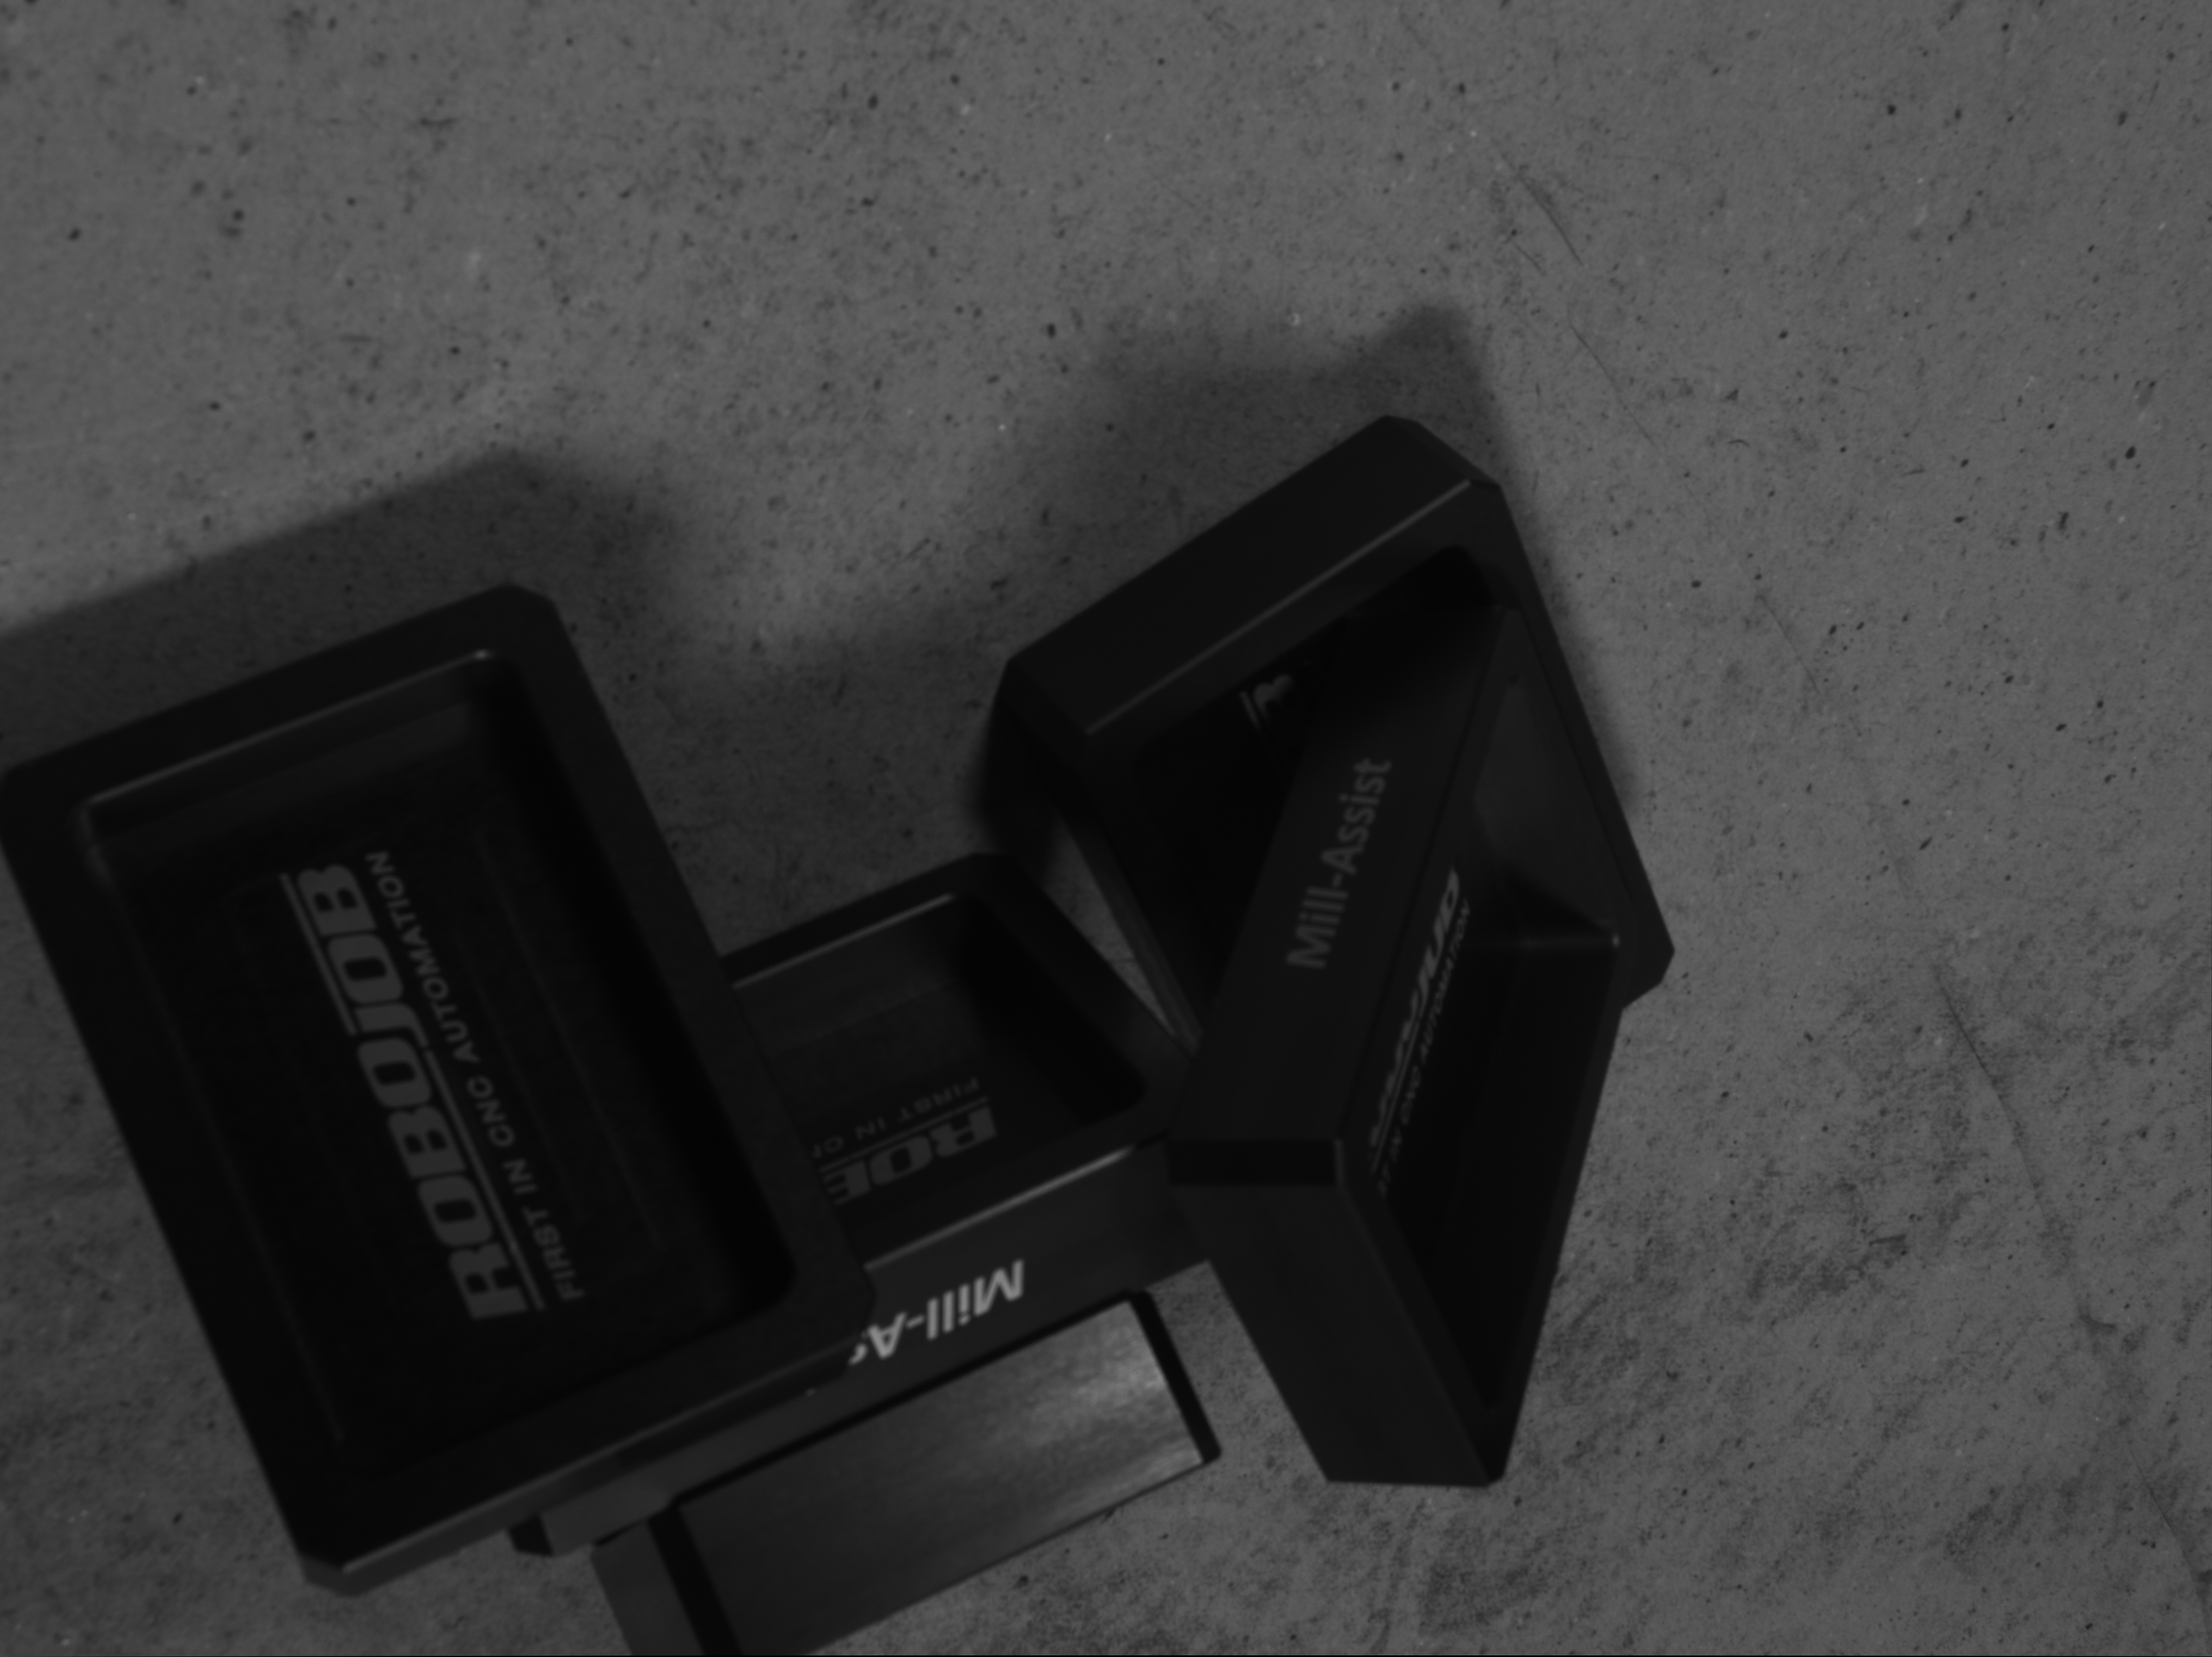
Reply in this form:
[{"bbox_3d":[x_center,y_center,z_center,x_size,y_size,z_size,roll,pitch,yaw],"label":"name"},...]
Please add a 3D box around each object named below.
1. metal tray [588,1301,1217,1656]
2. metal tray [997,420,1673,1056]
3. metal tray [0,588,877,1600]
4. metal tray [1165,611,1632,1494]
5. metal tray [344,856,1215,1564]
[{"bbox_3d":[-0.040,0.121,0.645,0.090,0.030,0.130,-22,172,-16],"label":"metal tray"},{"bbox_3d":[0.045,0.001,0.675,0.090,0.030,0.130,-34,130,-8],"label":"metal tray"},{"bbox_3d":[-0.102,0.038,0.553,0.090,0.130,0.030,-22,166,-17],"label":"metal tray"},{"bbox_3d":[0.054,0.037,0.633,0.090,0.030,0.130,64,34,-40],"label":"metal tray"},{"bbox_3d":[-0.055,0.060,0.613,0.130,0.090,0.030,-23,127,-17],"label":"metal tray"}]
